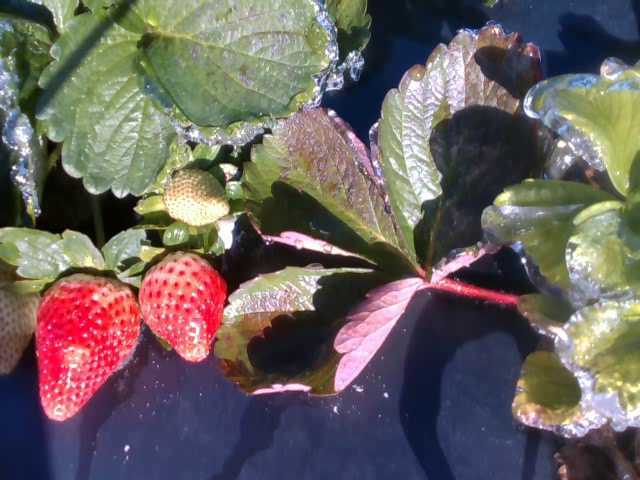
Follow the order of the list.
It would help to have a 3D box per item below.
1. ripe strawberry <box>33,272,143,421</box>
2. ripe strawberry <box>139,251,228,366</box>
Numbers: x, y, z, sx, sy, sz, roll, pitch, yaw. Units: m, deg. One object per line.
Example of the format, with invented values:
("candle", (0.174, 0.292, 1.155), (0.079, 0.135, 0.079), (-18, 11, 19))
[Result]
("ripe strawberry", (-0.082, 0.041, 0.205), (0.036, 0.052, 0.040), (-14, -38, 28))
("ripe strawberry", (-0.045, 0.024, 0.203), (0.036, 0.041, 0.030), (-41, -19, 26))
